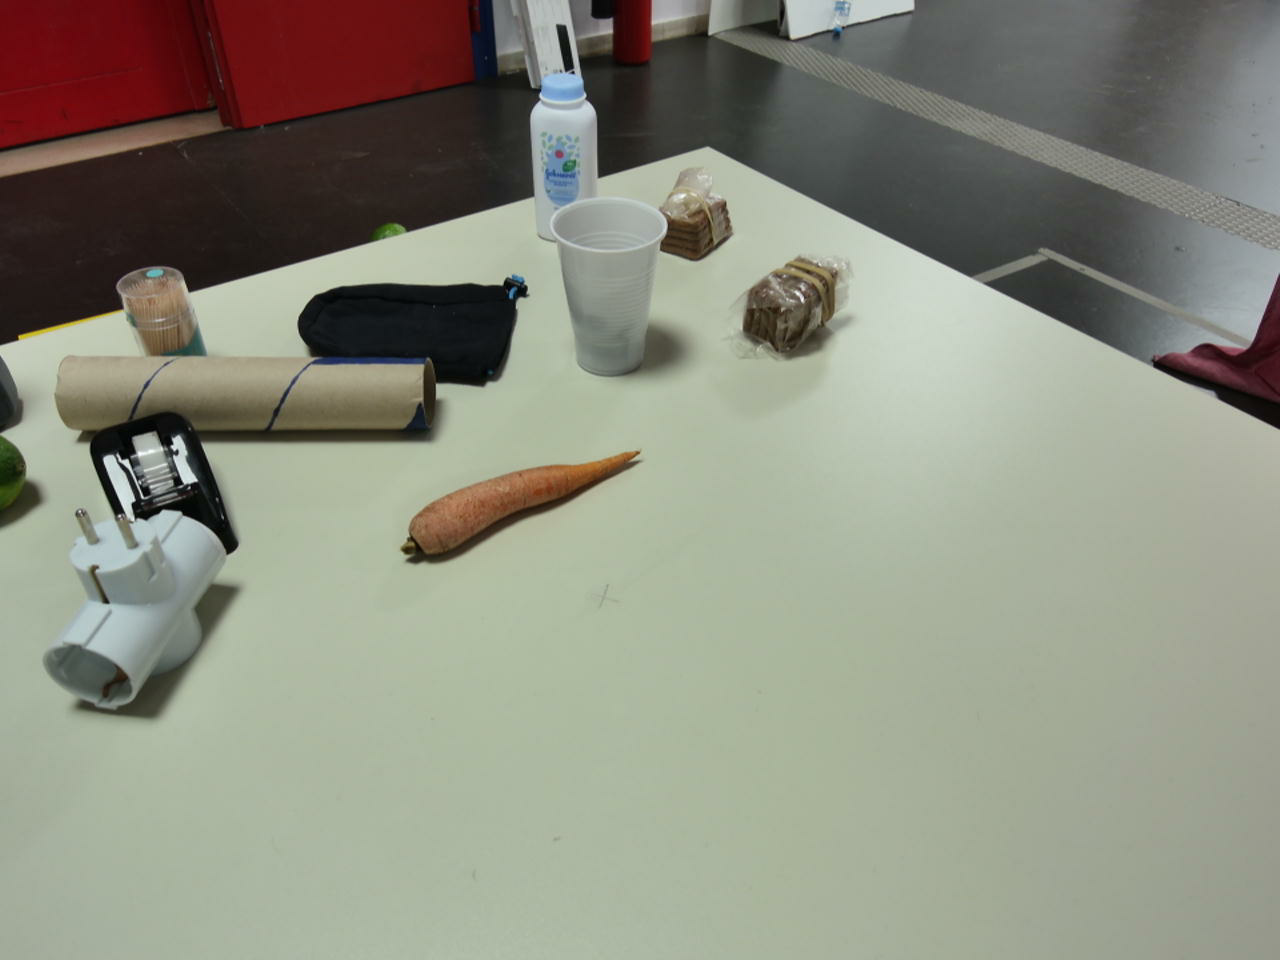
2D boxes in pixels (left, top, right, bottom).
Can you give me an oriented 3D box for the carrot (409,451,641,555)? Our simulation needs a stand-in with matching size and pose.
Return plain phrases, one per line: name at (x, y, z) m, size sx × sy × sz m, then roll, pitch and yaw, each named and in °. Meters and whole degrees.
carrot at (-0.068, 0.005, 0.610) m, size 0.163 × 0.029 × 0.031 m, roll -24°, pitch 45°, yaw -28°
